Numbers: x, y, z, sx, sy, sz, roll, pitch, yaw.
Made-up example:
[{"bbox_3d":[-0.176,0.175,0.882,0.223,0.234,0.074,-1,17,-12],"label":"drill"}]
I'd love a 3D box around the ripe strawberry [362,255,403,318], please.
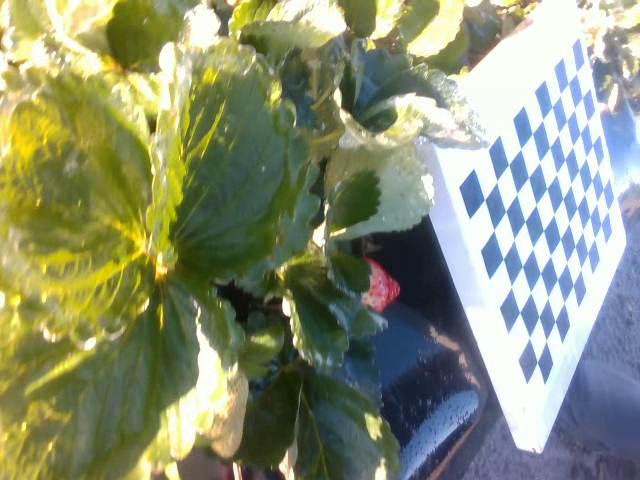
[{"bbox_3d":[0.035,0.036,0.388,0.040,0.040,0.065,-5,-10,41],"label":"ripe strawberry"}]
